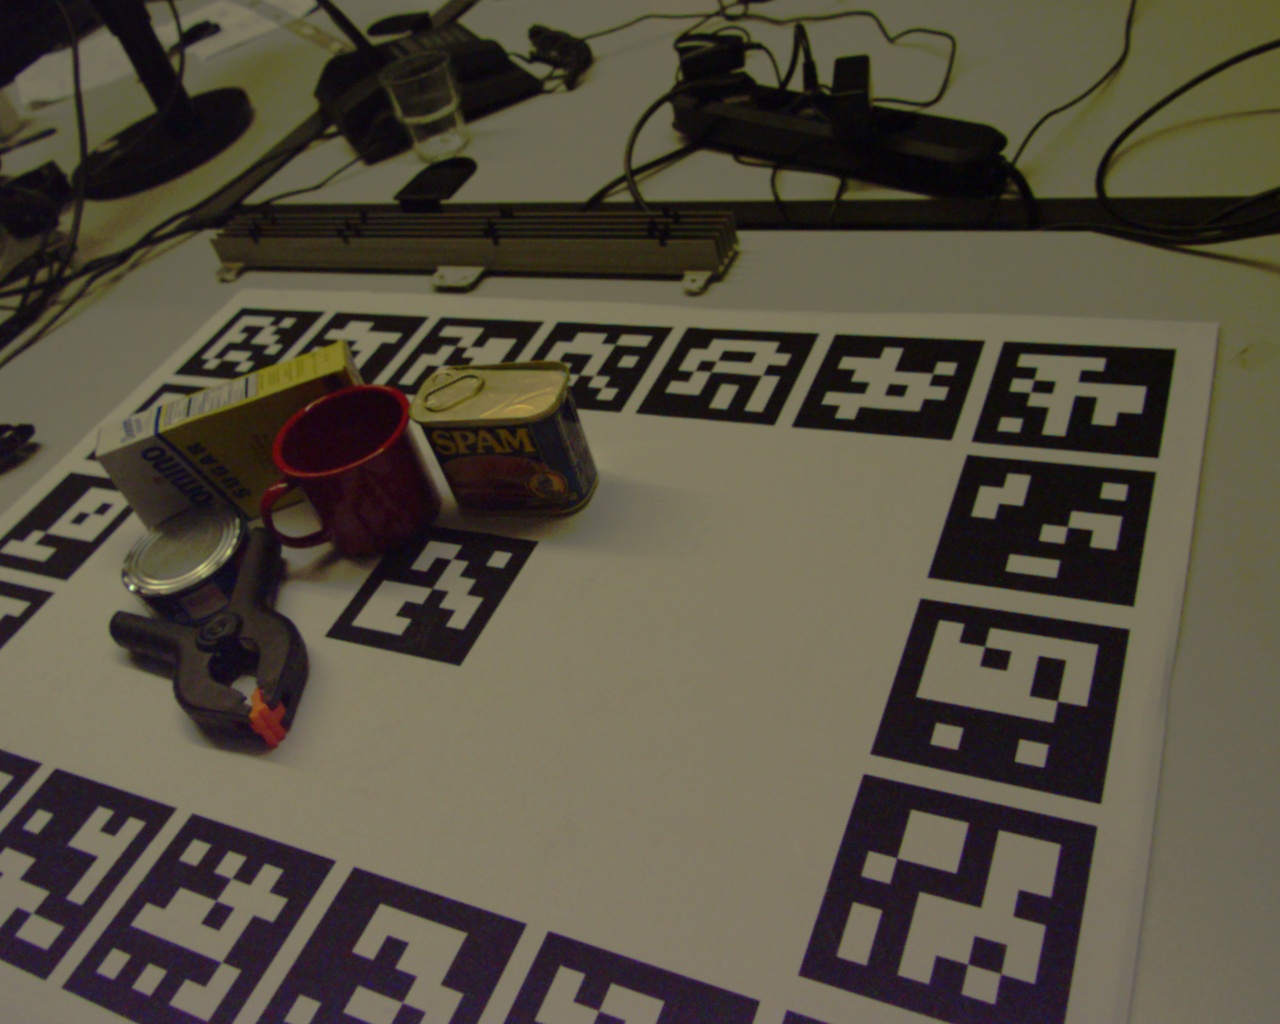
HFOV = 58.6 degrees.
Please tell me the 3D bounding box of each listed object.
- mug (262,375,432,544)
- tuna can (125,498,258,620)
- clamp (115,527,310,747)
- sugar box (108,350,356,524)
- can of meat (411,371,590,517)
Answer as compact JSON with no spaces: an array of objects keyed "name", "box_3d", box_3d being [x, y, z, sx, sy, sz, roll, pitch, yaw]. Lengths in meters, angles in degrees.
[{"name":"mug","box_3d":[-0.201,-0.025,0.772,0.116,0.081,0.094,-40,47,-19]},{"name":"tuna can","box_3d":[-0.308,0.033,0.790,0.086,0.033,0.086,-11,44,10]},{"name":"clamp","box_3d":[-0.258,0.085,0.725,0.121,0.036,0.167,-29,47,-17]},{"name":"sugar box","box_3d":[-0.278,-0.044,0.825,0.176,0.092,0.046,-19,41,-2]},{"name":"can of meat","box_3d":[-0.090,-0.044,0.762,0.103,0.083,0.058,2,45,20]}]
